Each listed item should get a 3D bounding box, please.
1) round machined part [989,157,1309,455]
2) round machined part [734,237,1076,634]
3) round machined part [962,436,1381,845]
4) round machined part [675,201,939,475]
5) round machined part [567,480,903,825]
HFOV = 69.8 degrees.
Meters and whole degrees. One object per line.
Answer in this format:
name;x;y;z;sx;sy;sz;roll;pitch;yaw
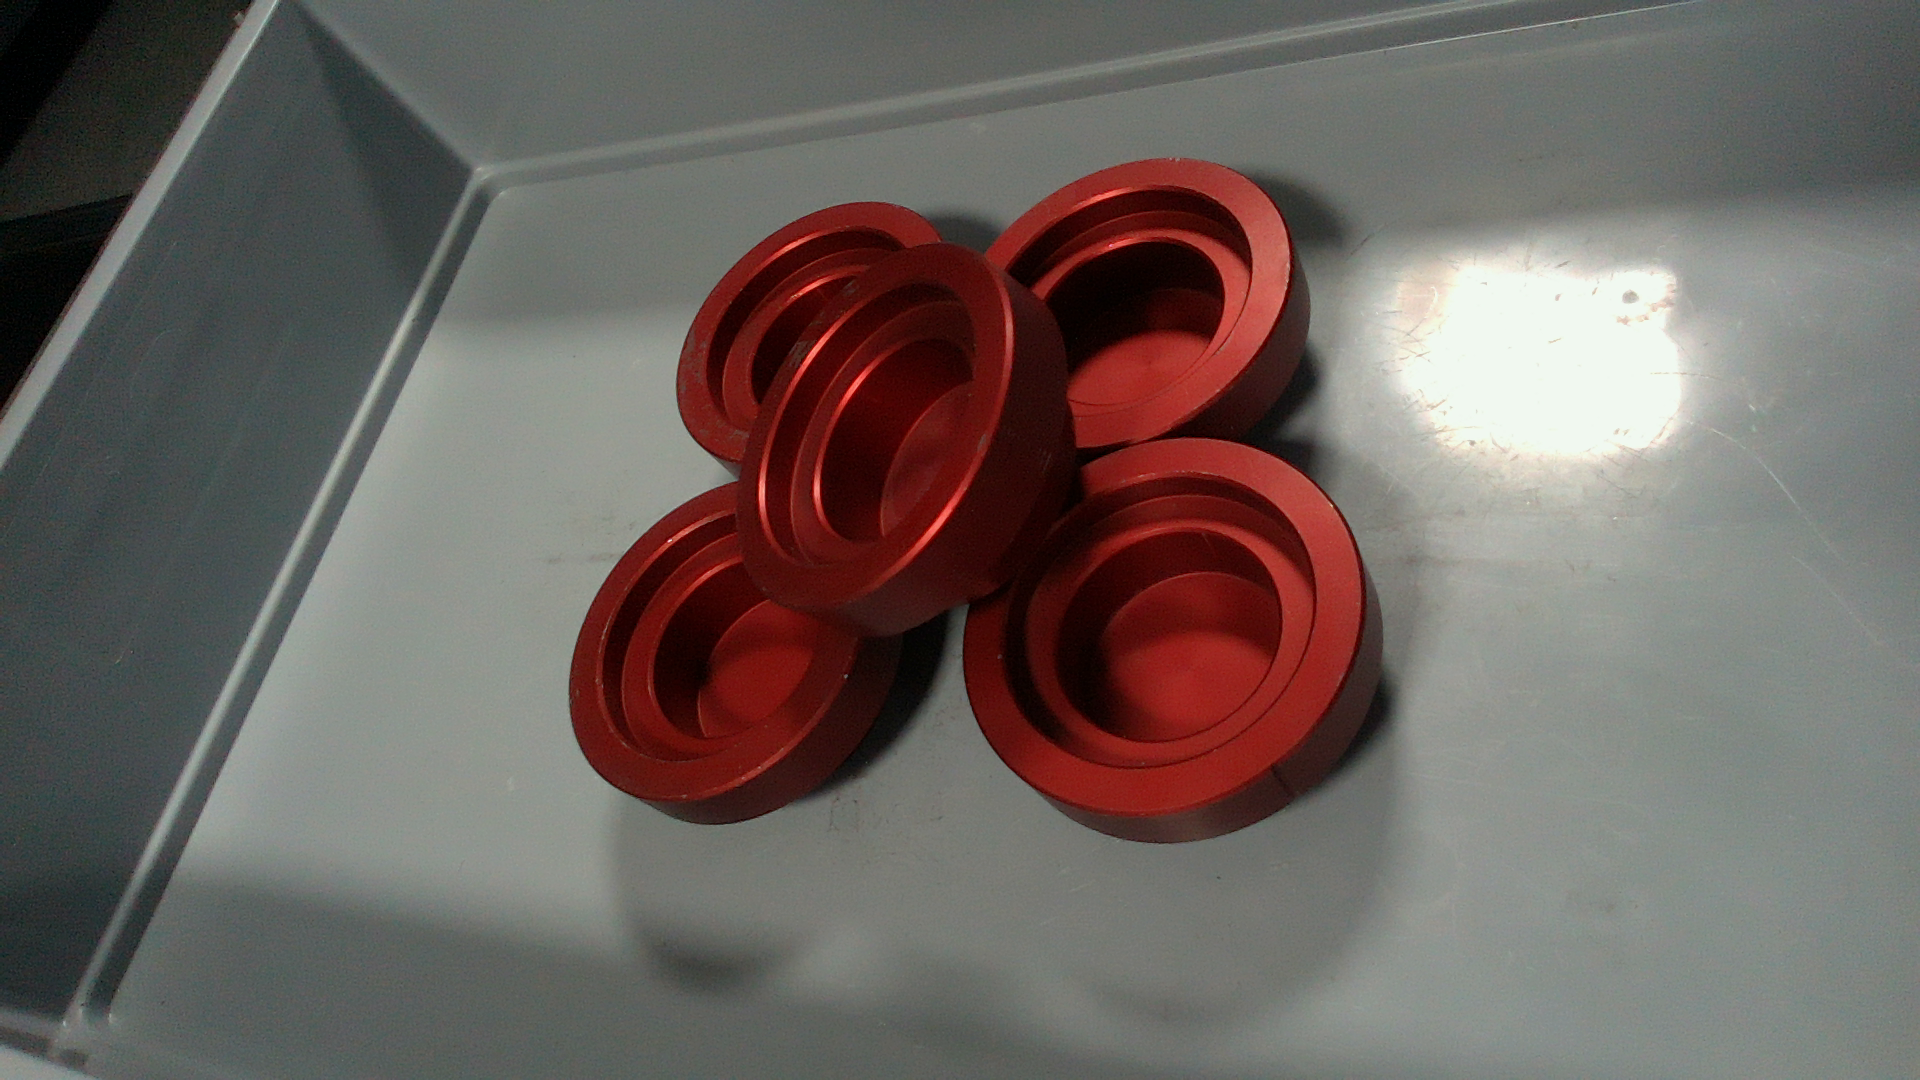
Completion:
round machined part;0.050;-0.057;0.389;0.098;0.042;0.098;-13;56;21
round machined part;-0.010;-0.022;0.345;0.098;0.042;0.098;-26;50;36
round machined part;0.053;0.027;0.336;0.098;0.042;0.098;-13;56;21
round machined part;-0.038;-0.056;0.436;0.098;0.042;0.098;-13;56;21
round machined part;-0.059;0.034;0.392;0.098;0.042;0.098;-13;56;21
